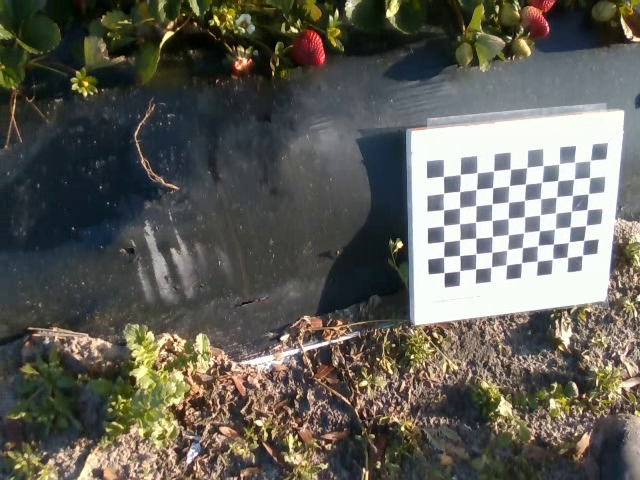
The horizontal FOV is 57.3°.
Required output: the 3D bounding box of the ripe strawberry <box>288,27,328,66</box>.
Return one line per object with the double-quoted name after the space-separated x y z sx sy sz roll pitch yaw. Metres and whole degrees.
-0.011 -0.234 0.722 0.052 0.051 0.041 -36 -38 2 "ripe strawberry"
